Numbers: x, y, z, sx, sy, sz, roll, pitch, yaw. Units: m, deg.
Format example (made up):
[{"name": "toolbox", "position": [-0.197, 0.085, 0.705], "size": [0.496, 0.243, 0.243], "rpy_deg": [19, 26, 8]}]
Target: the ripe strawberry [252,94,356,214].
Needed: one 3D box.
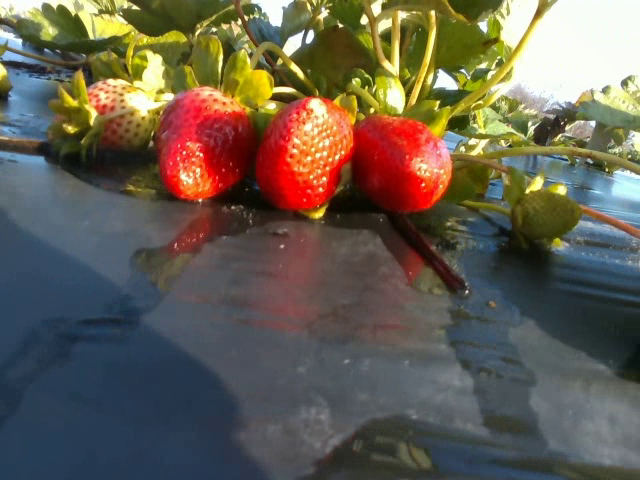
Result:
[{"name": "ripe strawberry", "position": [-0.005, -0.027, 0.160], "size": [0.030, 0.037, 0.039], "rpy_deg": [18, -10, 6]}]

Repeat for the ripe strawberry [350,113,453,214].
[{"name": "ripe strawberry", "position": [0.023, -0.020, 0.163], "size": [0.035, 0.034, 0.041], "rpy_deg": [7, 3, -3]}]

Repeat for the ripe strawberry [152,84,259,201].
[{"name": "ripe strawberry", "position": [-0.034, -0.028, 0.164], "size": [0.031, 0.023, 0.046], "rpy_deg": [10, 39, -1]}]
